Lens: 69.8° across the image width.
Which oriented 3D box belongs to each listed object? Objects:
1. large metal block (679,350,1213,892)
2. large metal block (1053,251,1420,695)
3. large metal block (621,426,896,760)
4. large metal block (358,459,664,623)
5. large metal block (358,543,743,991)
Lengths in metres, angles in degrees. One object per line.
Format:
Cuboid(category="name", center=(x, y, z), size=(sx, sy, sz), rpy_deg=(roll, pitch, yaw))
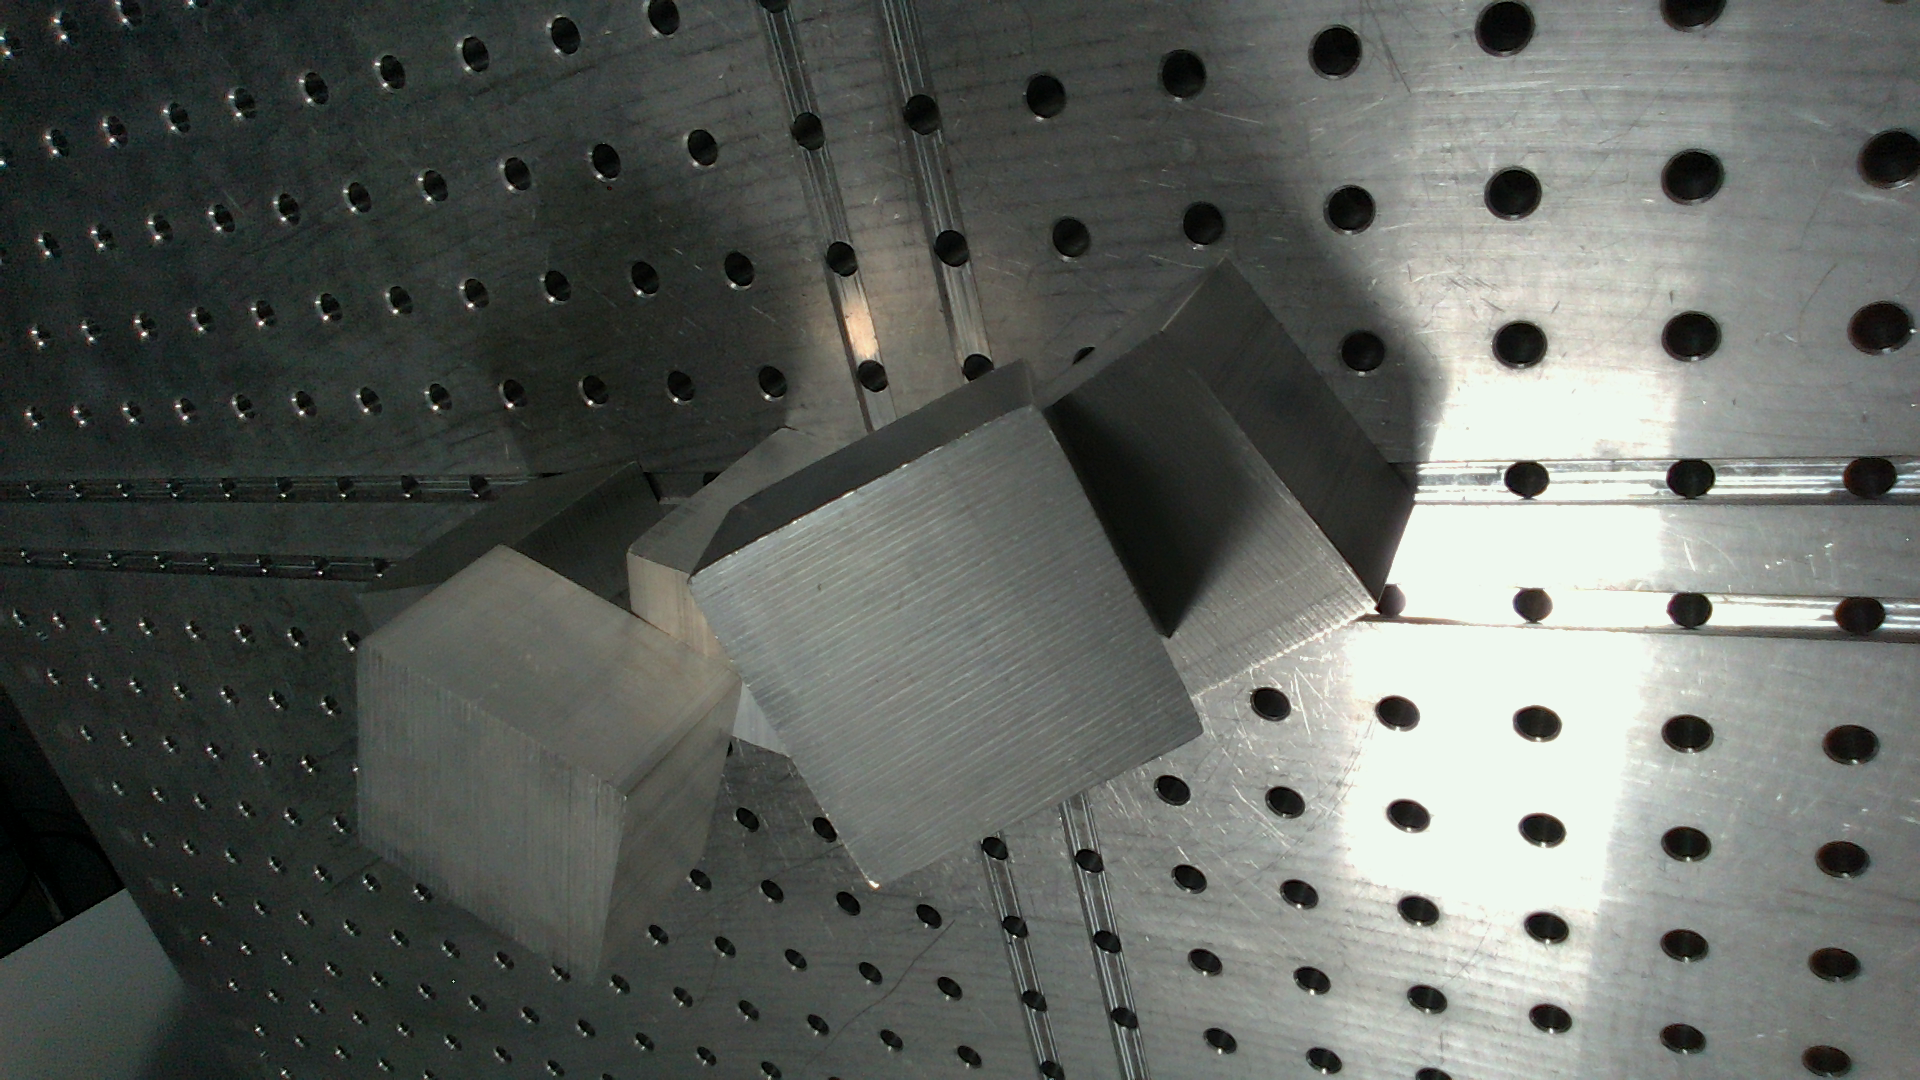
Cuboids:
Cuboid(category="large metal block", center=(-0.002, 0.016, 0.302), size=(0.080, 0.050, 0.080), rpy_deg=(-27, 106, 7))
Cuboid(category="large metal block", center=(0.053, -0.010, 0.345), size=(0.080, 0.050, 0.080), rpy_deg=(-34, 99, 38))
Cuboid(category="large metal block", center=(-0.037, 0.017, 0.389), size=(0.080, 0.080, 0.050), rpy_deg=(17, 125, 18))
Cuboid(category="large metal block", center=(-0.131, 0.030, 0.449), size=(0.050, 0.080, 0.080), rpy_deg=(-6, 115, 31))
Cuboid(category="large metal block", center=(-0.113, 0.061, 0.373), size=(0.080, 0.050, 0.080), rpy_deg=(28, 128, 11))
